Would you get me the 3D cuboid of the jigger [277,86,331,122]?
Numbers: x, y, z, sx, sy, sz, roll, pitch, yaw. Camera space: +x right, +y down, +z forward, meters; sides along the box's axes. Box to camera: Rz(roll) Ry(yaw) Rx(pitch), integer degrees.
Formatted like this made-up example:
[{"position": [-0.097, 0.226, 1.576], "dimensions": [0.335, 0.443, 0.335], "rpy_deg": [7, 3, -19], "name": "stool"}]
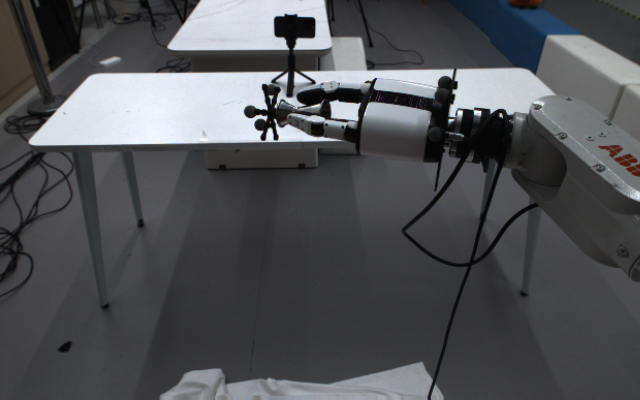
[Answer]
[{"position": [-0.016, -0.127, 0.681], "dimensions": [0.071, 0.043, 0.043], "rpy_deg": [5, 34, 20], "name": "jigger"}]
